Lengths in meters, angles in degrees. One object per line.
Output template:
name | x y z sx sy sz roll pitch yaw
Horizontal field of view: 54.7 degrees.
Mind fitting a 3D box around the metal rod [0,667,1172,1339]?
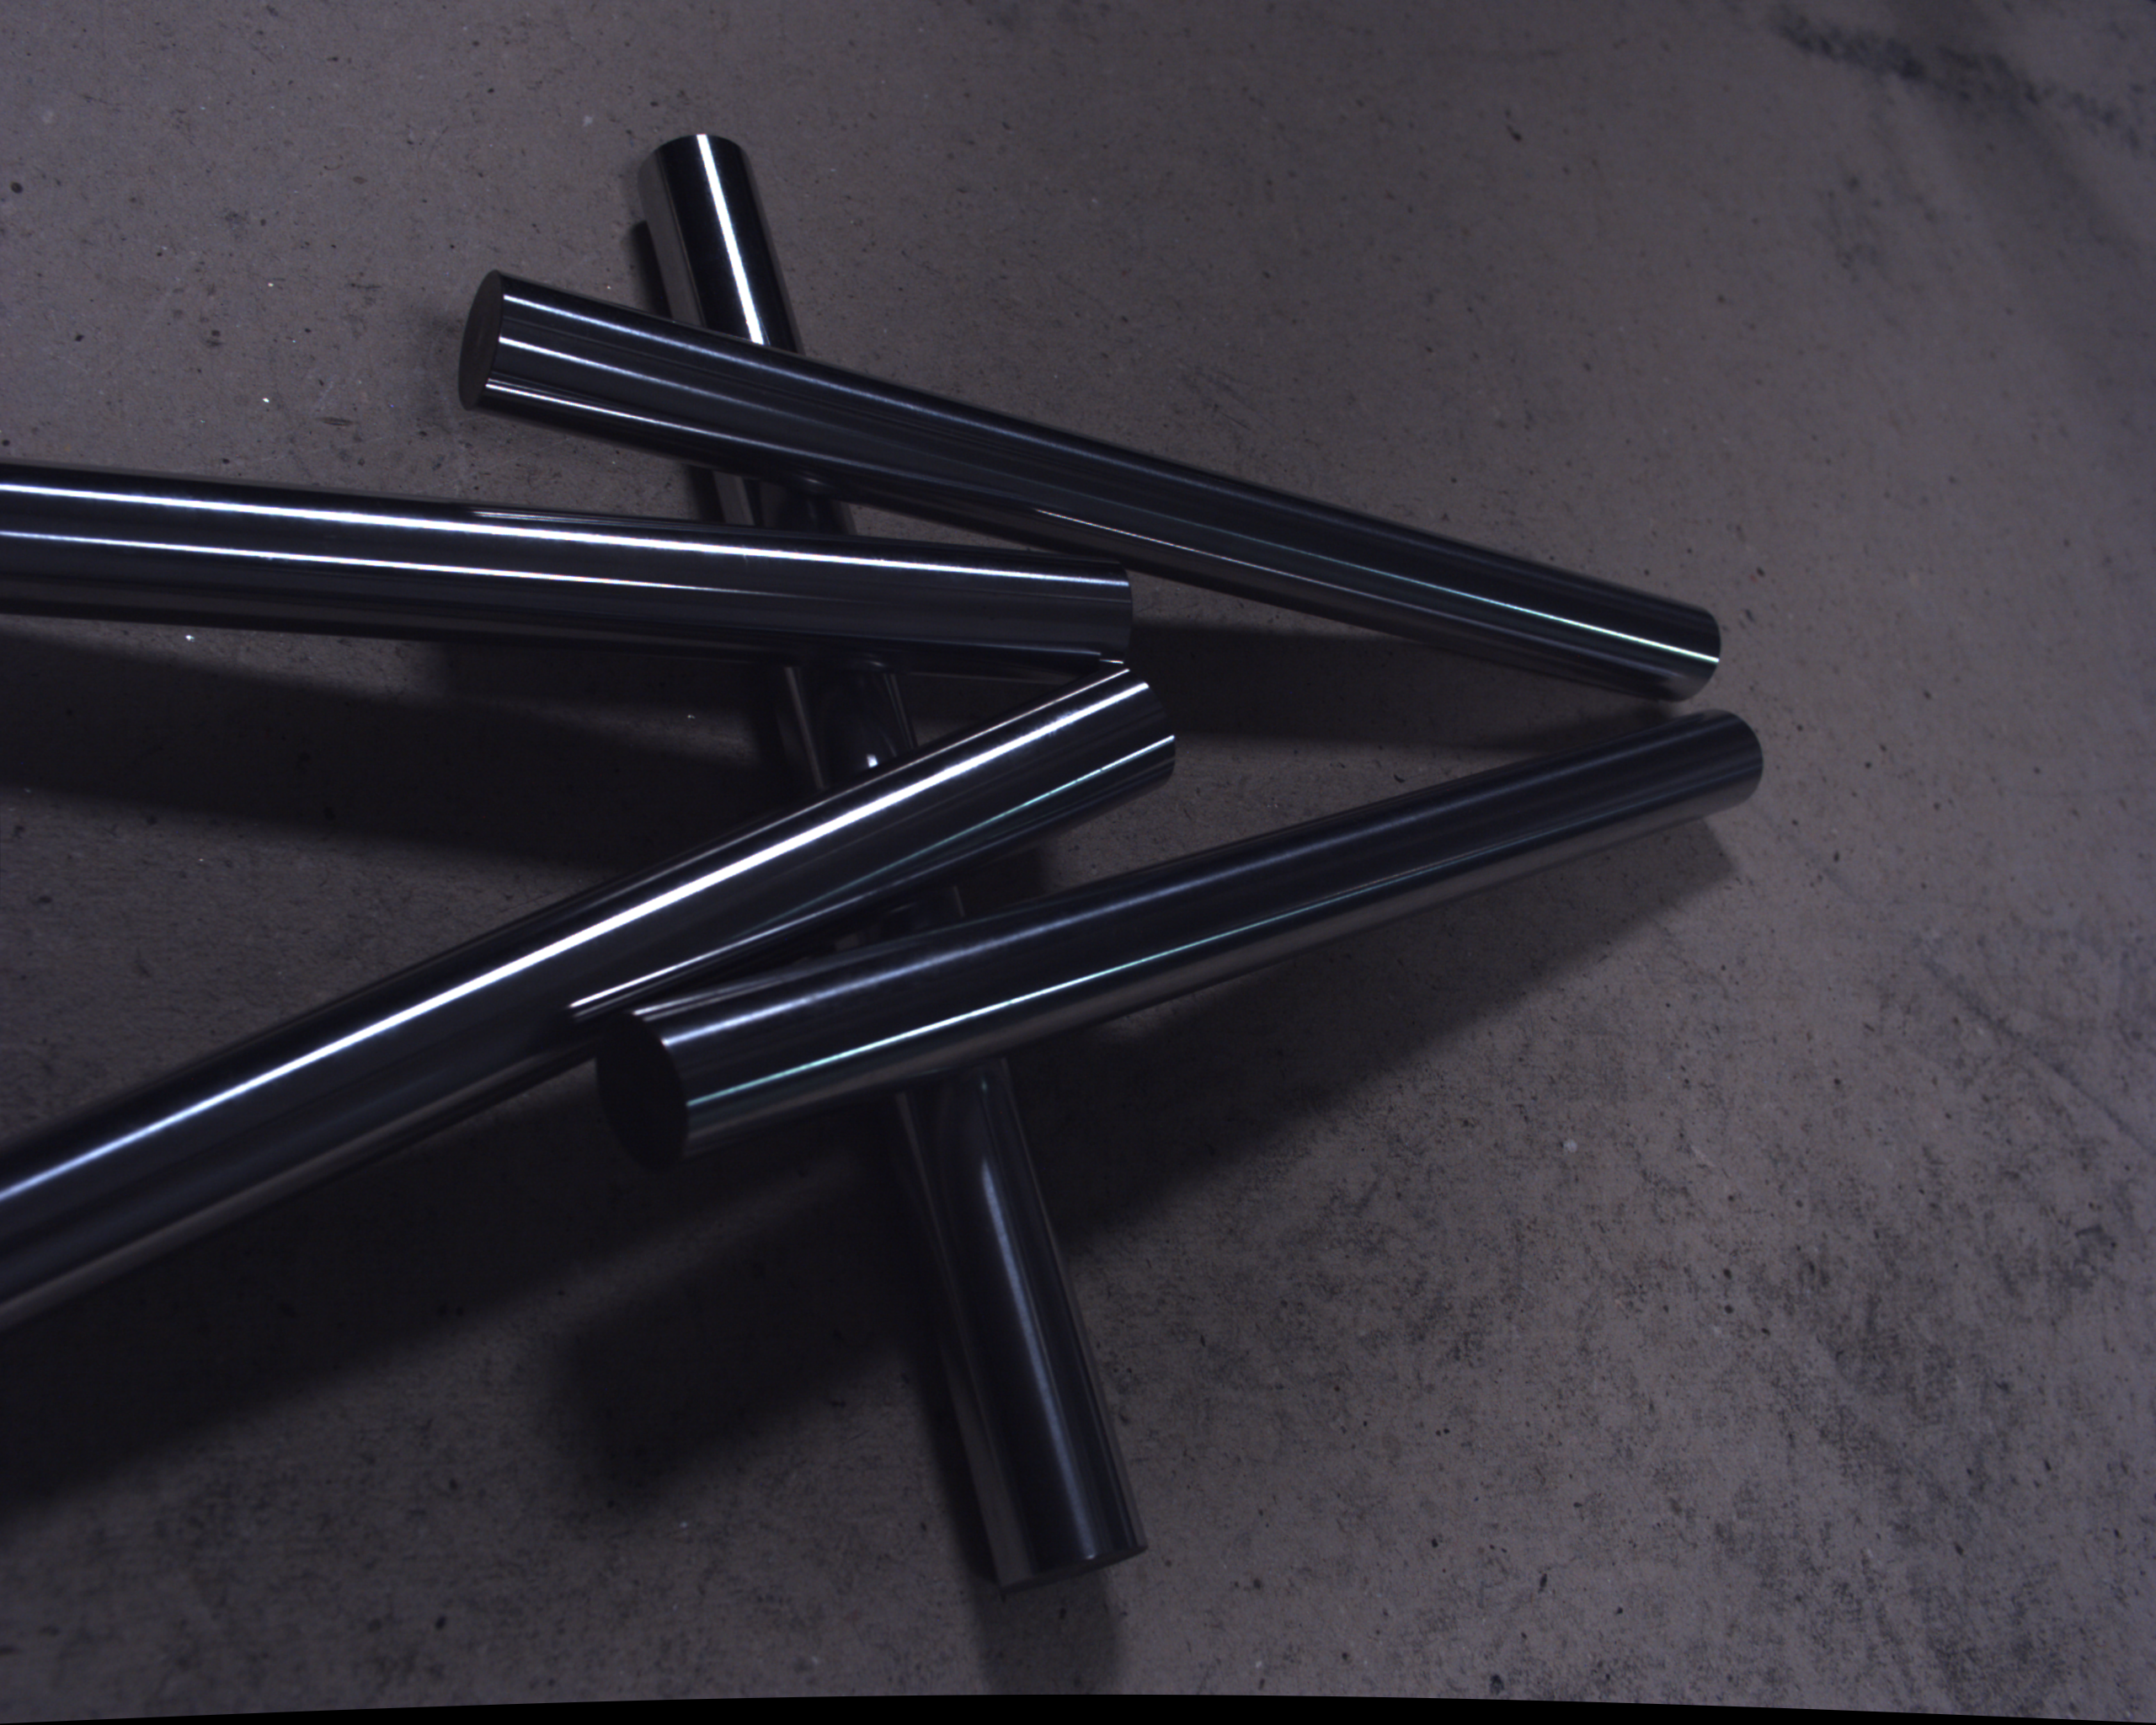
metal rod | -0.107 0.032 0.311 0.302 0.025 0.025 -26 76 -32

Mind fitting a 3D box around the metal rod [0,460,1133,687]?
metal rod | -0.135 -0.050 0.346 0.303 0.025 0.025 2 61 -21

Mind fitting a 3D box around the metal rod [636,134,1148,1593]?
metal rod | -0.042 -0.017 0.394 0.025 0.025 0.299 -3 63 -30

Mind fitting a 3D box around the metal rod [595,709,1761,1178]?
metal rod | 0.045 0.005 0.408 0.302 0.025 0.025 -15 70 -41

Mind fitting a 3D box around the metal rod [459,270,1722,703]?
metal rod | 0.023 -0.072 0.442 0.302 0.025 0.025 9 58 -31
